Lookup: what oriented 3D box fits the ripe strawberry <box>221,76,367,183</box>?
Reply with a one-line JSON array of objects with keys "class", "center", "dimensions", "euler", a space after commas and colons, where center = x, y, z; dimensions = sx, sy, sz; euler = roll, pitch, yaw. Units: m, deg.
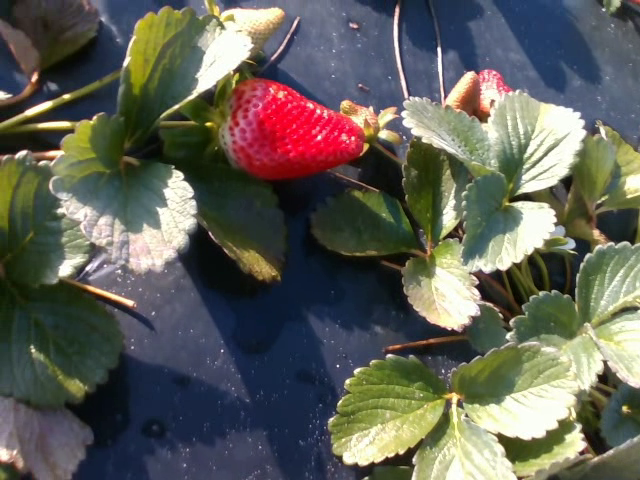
[{"class": "ripe strawberry", "center": [-0.010, -0.048, 0.291], "dimensions": [0.072, 0.057, 0.055], "euler": [3, 24, -3]}]
